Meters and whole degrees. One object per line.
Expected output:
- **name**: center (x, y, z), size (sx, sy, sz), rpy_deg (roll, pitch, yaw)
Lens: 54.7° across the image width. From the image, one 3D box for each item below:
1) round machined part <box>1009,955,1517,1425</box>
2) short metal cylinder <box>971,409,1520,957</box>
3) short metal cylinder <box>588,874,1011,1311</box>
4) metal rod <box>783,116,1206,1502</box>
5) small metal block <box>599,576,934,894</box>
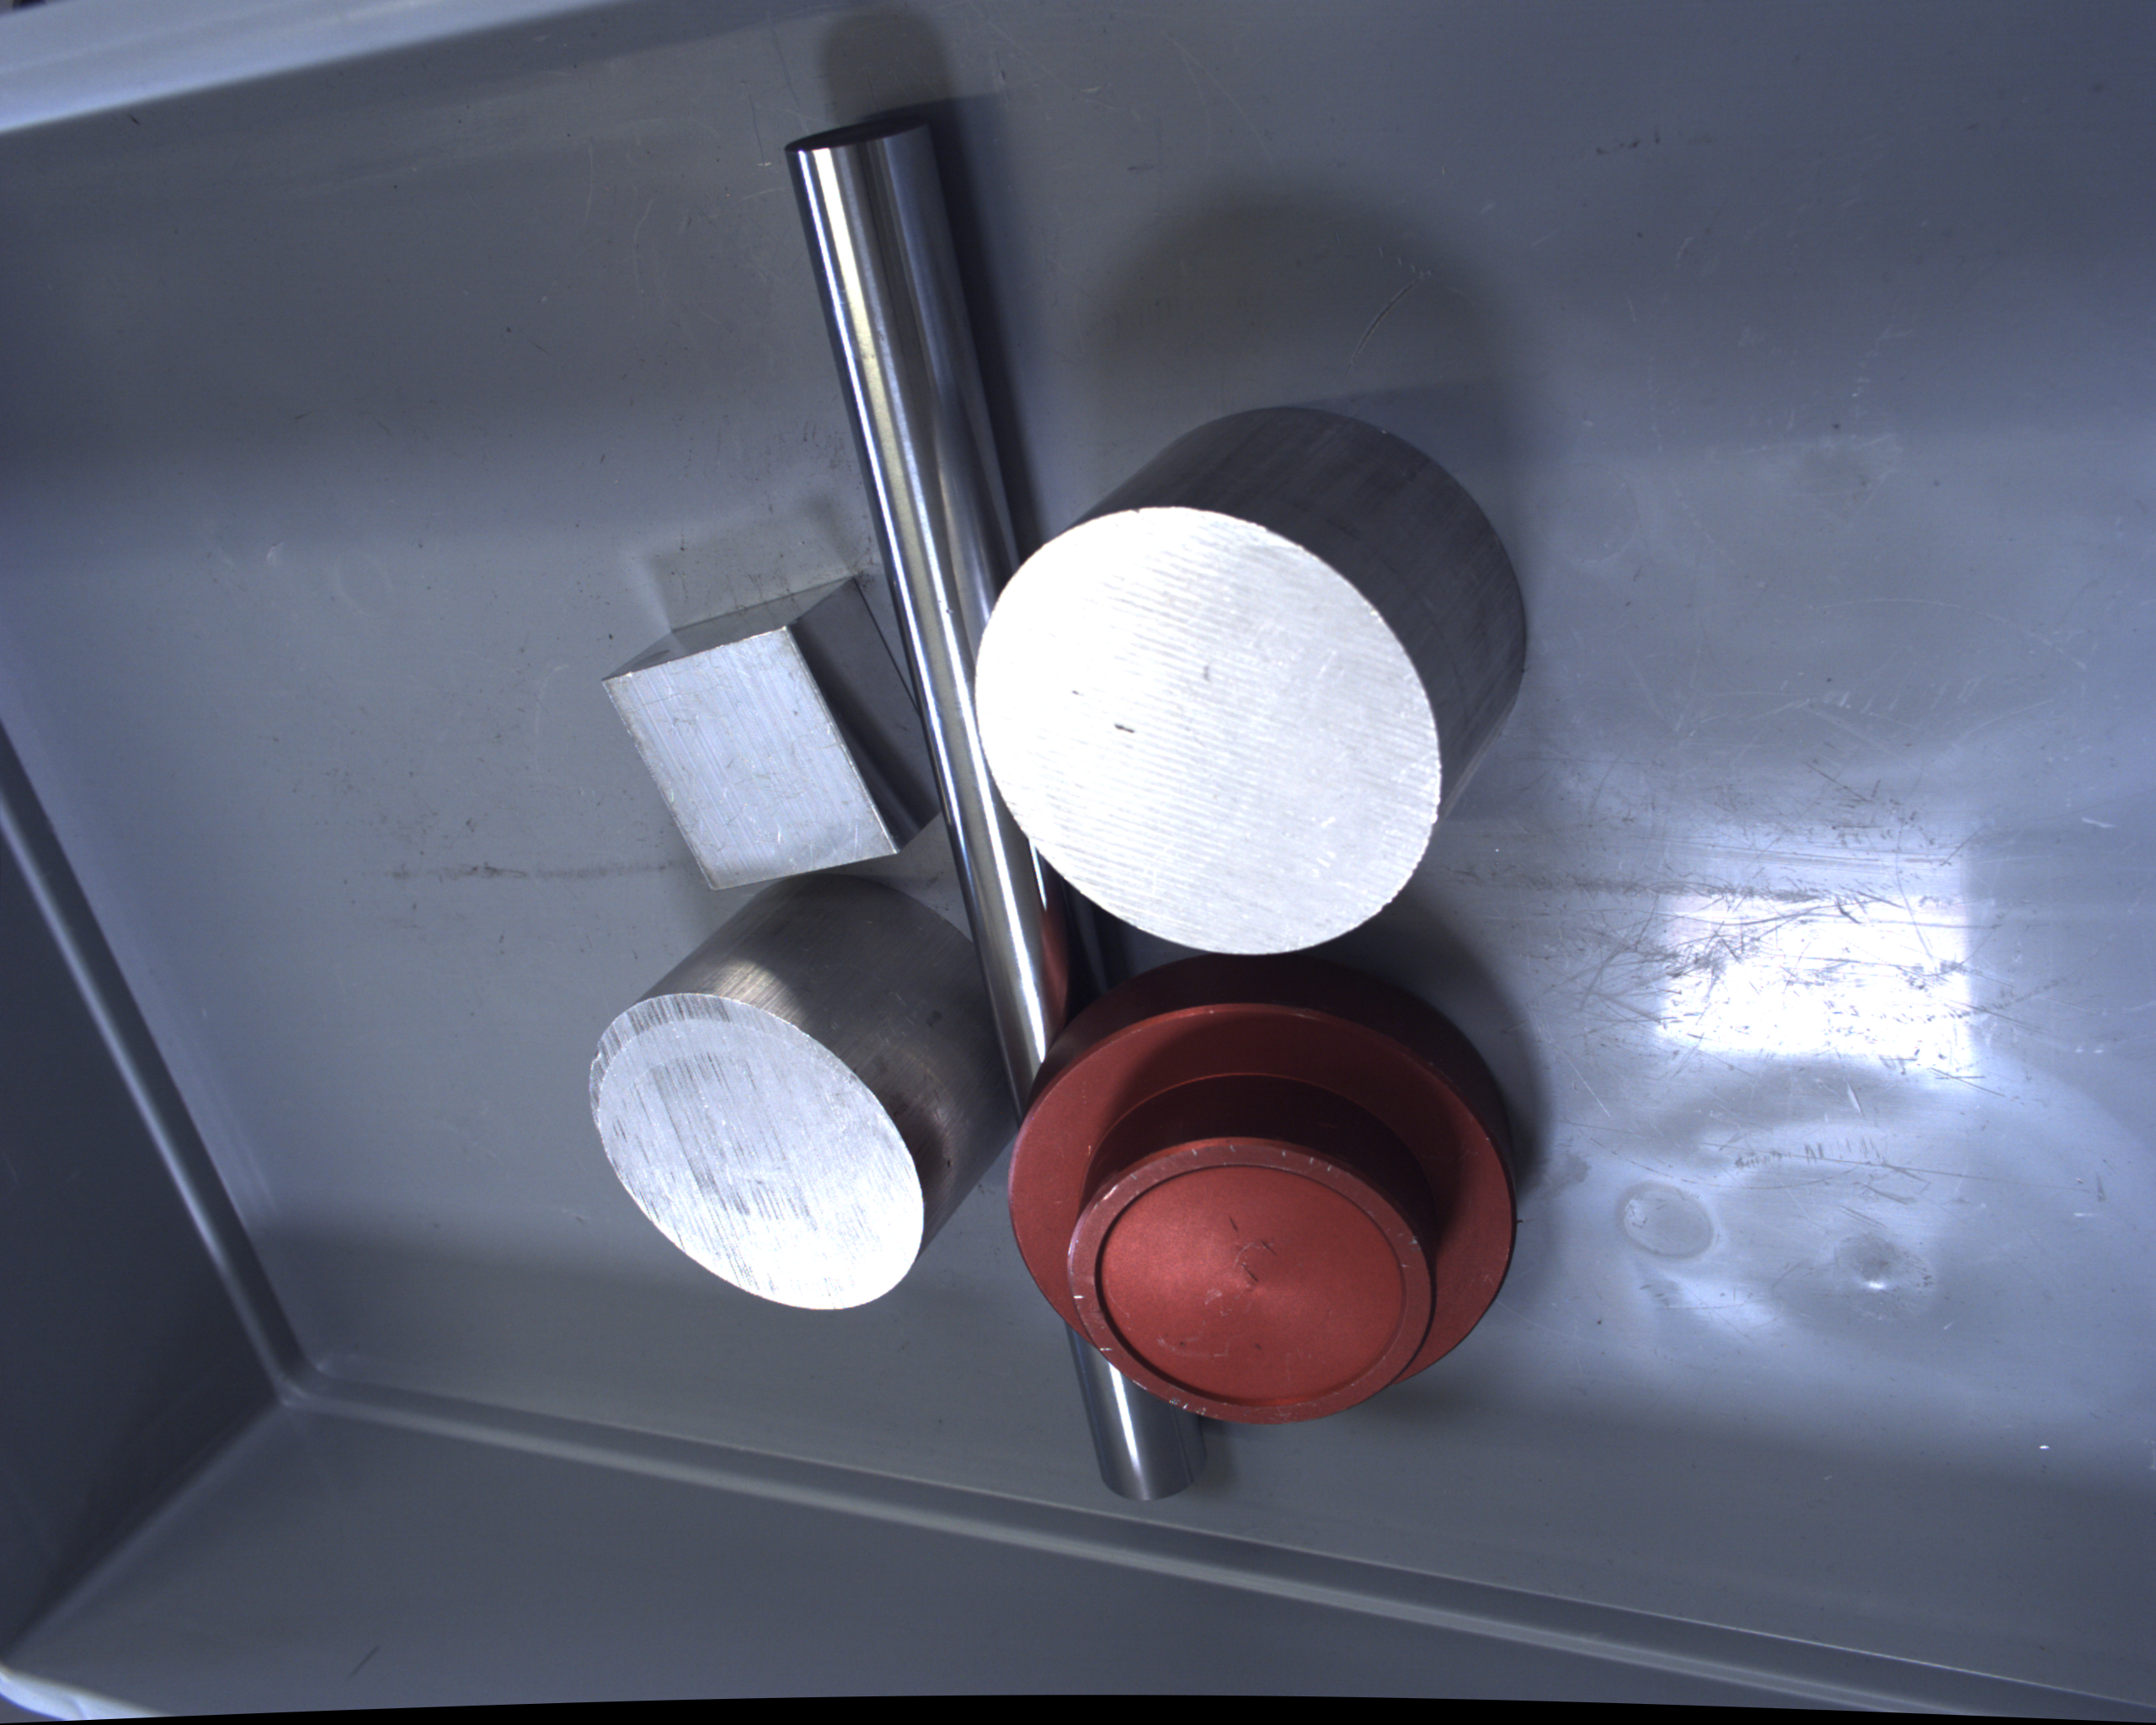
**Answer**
- **round machined part**: center (0.035, 0.069, 0.404), size (0.099, 0.042, 0.097), rpy_deg (4, 117, 8)
- **short metal cylinder**: center (0.029, -0.031, 0.355), size (0.080, 0.050, 0.079), rpy_deg (13, 124, 21)
- **short metal cylinder**: center (-0.057, 0.049, 0.450), size (0.080, 0.050, 0.079), rpy_deg (13, 124, 21)
- **metal rod**: center (-0.010, 0.008, 0.416), size (0.025, 0.025, 0.298), rpy_deg (3, 120, 27)
- **small metal block**: center (-0.060, -0.025, 0.422), size (0.050, 0.025, 0.050), rpy_deg (-12, 113, 33)
